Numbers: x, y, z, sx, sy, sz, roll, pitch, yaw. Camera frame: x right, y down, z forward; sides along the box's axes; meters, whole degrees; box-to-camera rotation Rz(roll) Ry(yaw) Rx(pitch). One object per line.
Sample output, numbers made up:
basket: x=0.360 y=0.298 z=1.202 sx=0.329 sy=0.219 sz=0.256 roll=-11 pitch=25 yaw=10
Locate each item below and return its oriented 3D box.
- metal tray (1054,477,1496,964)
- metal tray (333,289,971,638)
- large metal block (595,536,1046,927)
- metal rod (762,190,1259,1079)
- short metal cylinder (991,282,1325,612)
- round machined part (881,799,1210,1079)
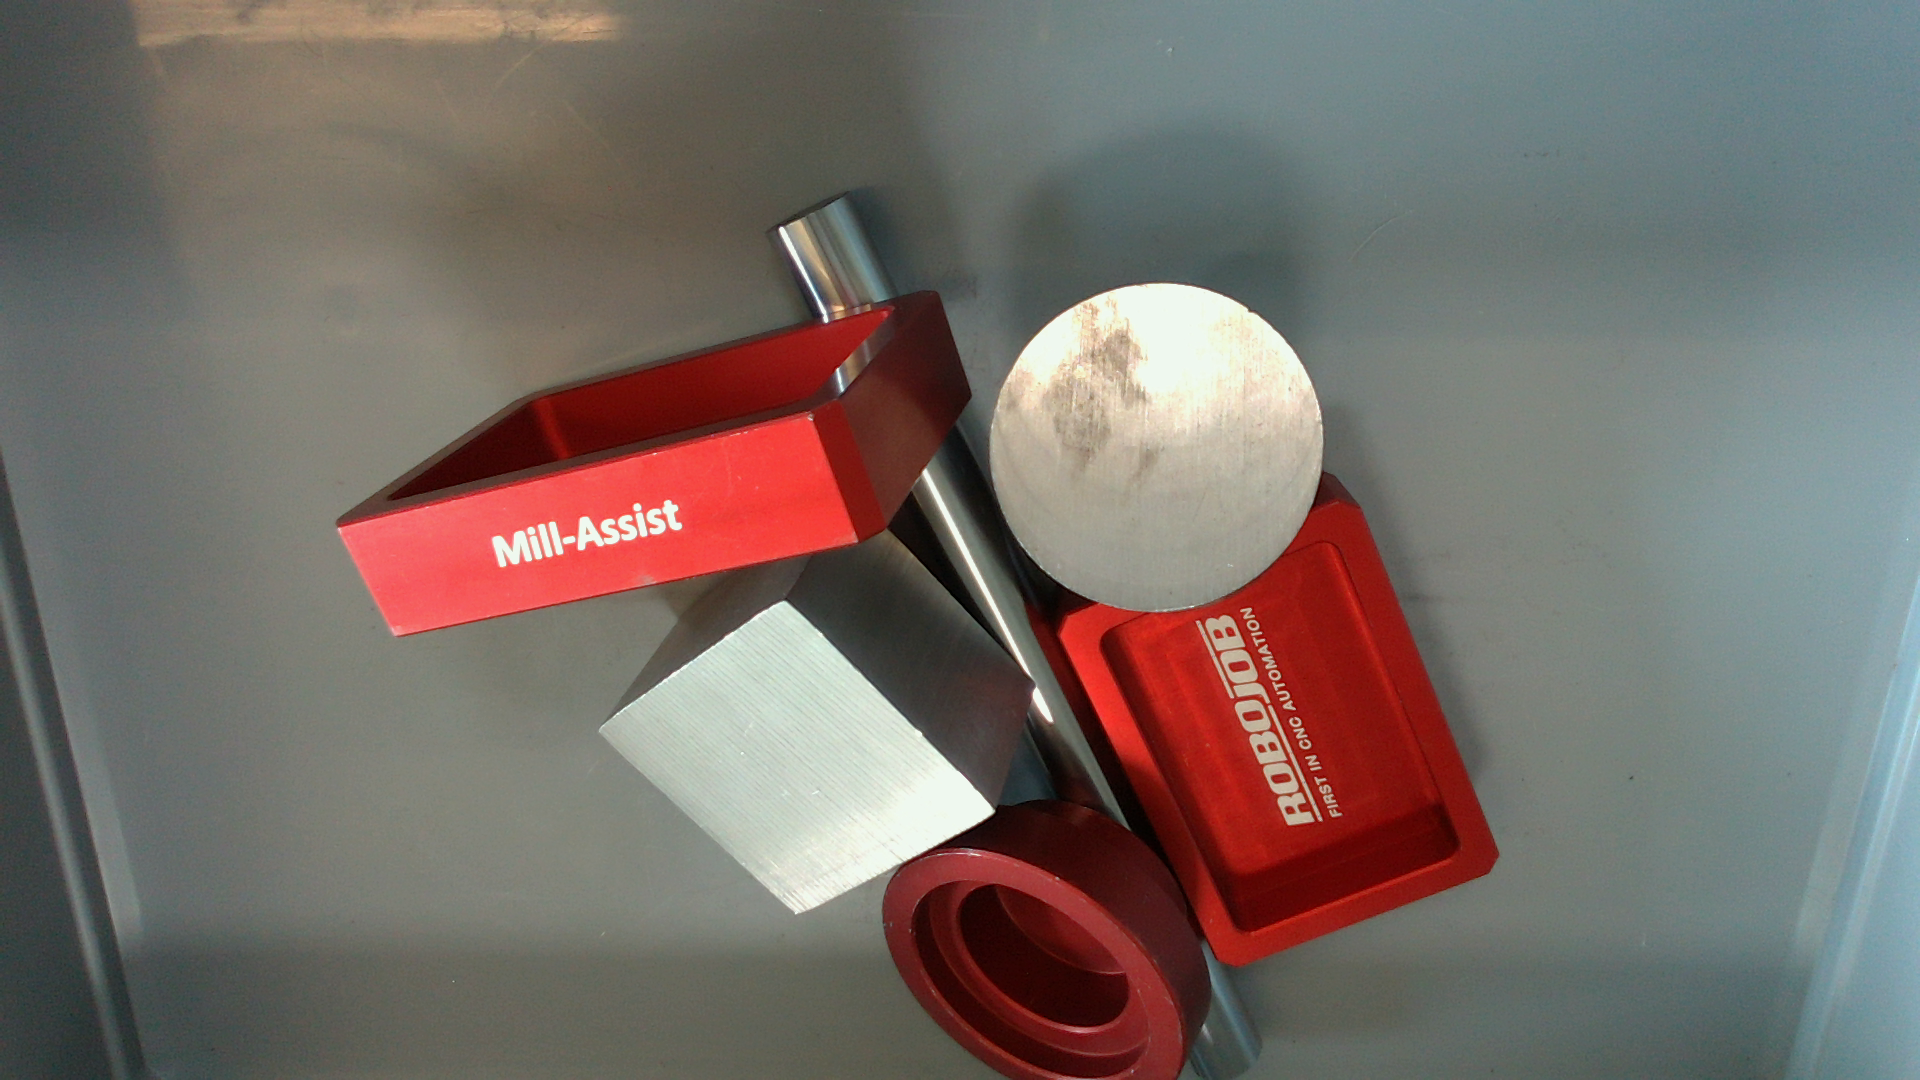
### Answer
metal tray: x=0.094 y=0.055 z=0.411 sx=0.090 sy=0.030 sz=0.130 roll=-24 pitch=109 yaw=8
metal tray: x=-0.071 y=-0.020 z=0.335 sx=0.130 sy=0.090 sz=0.030 roll=-11 pitch=112 yaw=19
large metal block: x=-0.036 y=0.049 z=0.378 sx=0.080 sy=0.050 sz=0.080 roll=-35 pitch=108 yaw=31
metal rod: x=0.023 y=0.041 z=0.407 sx=0.025 sy=0.025 sz=0.300 roll=-24 pitch=109 yaw=8
short metal cylinder: x=0.052 y=-0.021 z=0.356 sx=0.080 sy=0.050 sz=0.080 roll=-1 pitch=86 yaw=11
round machined part: x=0.029 y=0.117 z=0.412 sx=0.098 sy=0.042 sz=0.098 roll=17 pitch=129 yaw=23
